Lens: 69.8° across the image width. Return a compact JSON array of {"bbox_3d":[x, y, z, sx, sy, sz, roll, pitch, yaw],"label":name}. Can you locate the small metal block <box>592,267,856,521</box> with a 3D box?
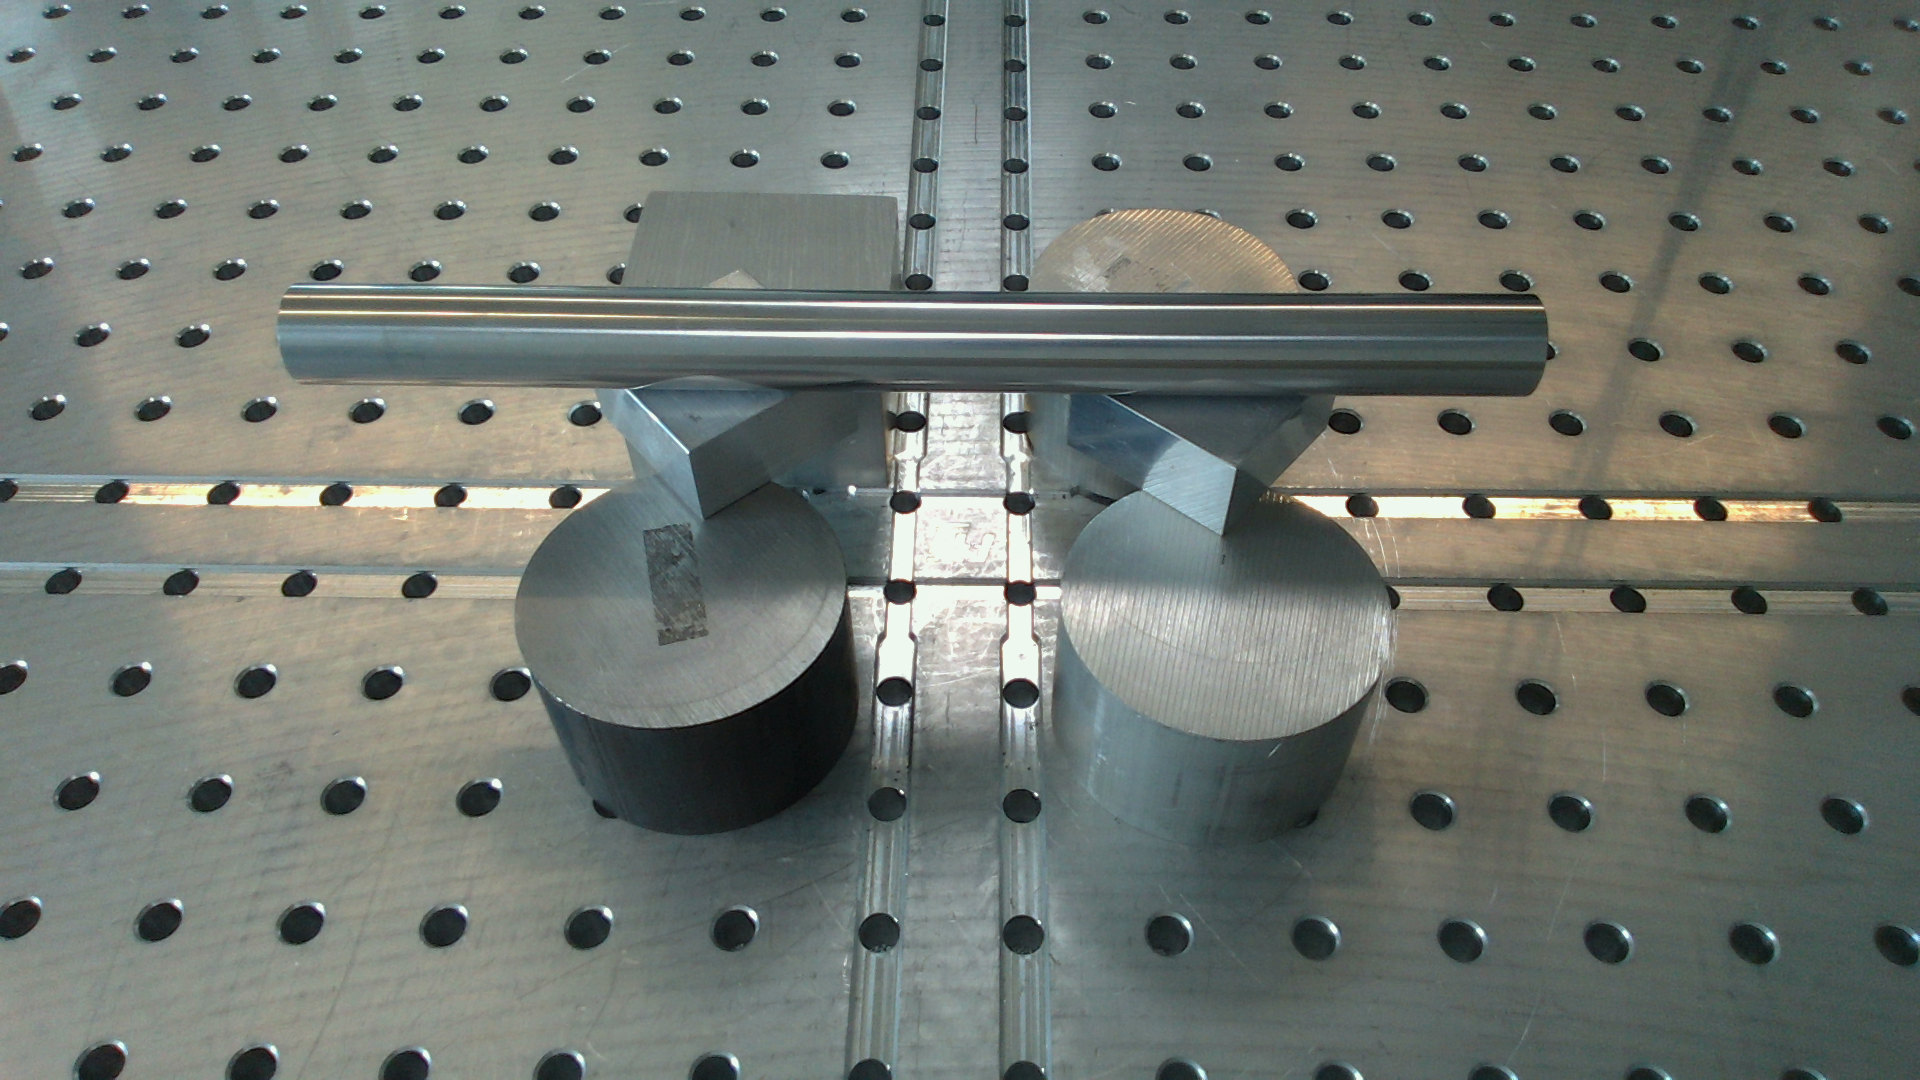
[{"bbox_3d":[-0.063,-0.040,0.363,0.050,0.025,0.050,-33,57,-24],"label":"small metal block"}]

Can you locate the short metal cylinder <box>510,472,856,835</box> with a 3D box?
[{"bbox_3d":[-0.068,0.028,0.354,0.080,0.050,0.080,0,50,0],"label":"short metal cylinder"}]

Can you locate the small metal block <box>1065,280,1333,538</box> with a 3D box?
[{"bbox_3d":[0.063,-0.035,0.360,0.050,0.025,0.050,33,57,25],"label":"small metal block"}]

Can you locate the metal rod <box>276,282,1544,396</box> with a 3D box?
[{"bbox_3d":[-0.012,-0.049,0.338,0.300,0.025,0.025,1,50,0],"label":"metal rod"}]

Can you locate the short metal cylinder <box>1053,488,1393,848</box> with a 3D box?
[{"bbox_3d":[0.064,0.031,0.352,0.080,0.050,0.080,0,50,0],"label":"short metal cylinder"}]

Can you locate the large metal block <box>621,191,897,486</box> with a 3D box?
[{"bbox_3d":[-0.061,-0.064,0.431,0.080,0.050,0.080,1,50,1],"label":"large metal block"}]

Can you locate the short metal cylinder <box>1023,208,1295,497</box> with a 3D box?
[{"bbox_3d":[0.060,-0.058,0.427,0.080,0.050,0.080,0,50,0],"label":"short metal cylinder"}]
